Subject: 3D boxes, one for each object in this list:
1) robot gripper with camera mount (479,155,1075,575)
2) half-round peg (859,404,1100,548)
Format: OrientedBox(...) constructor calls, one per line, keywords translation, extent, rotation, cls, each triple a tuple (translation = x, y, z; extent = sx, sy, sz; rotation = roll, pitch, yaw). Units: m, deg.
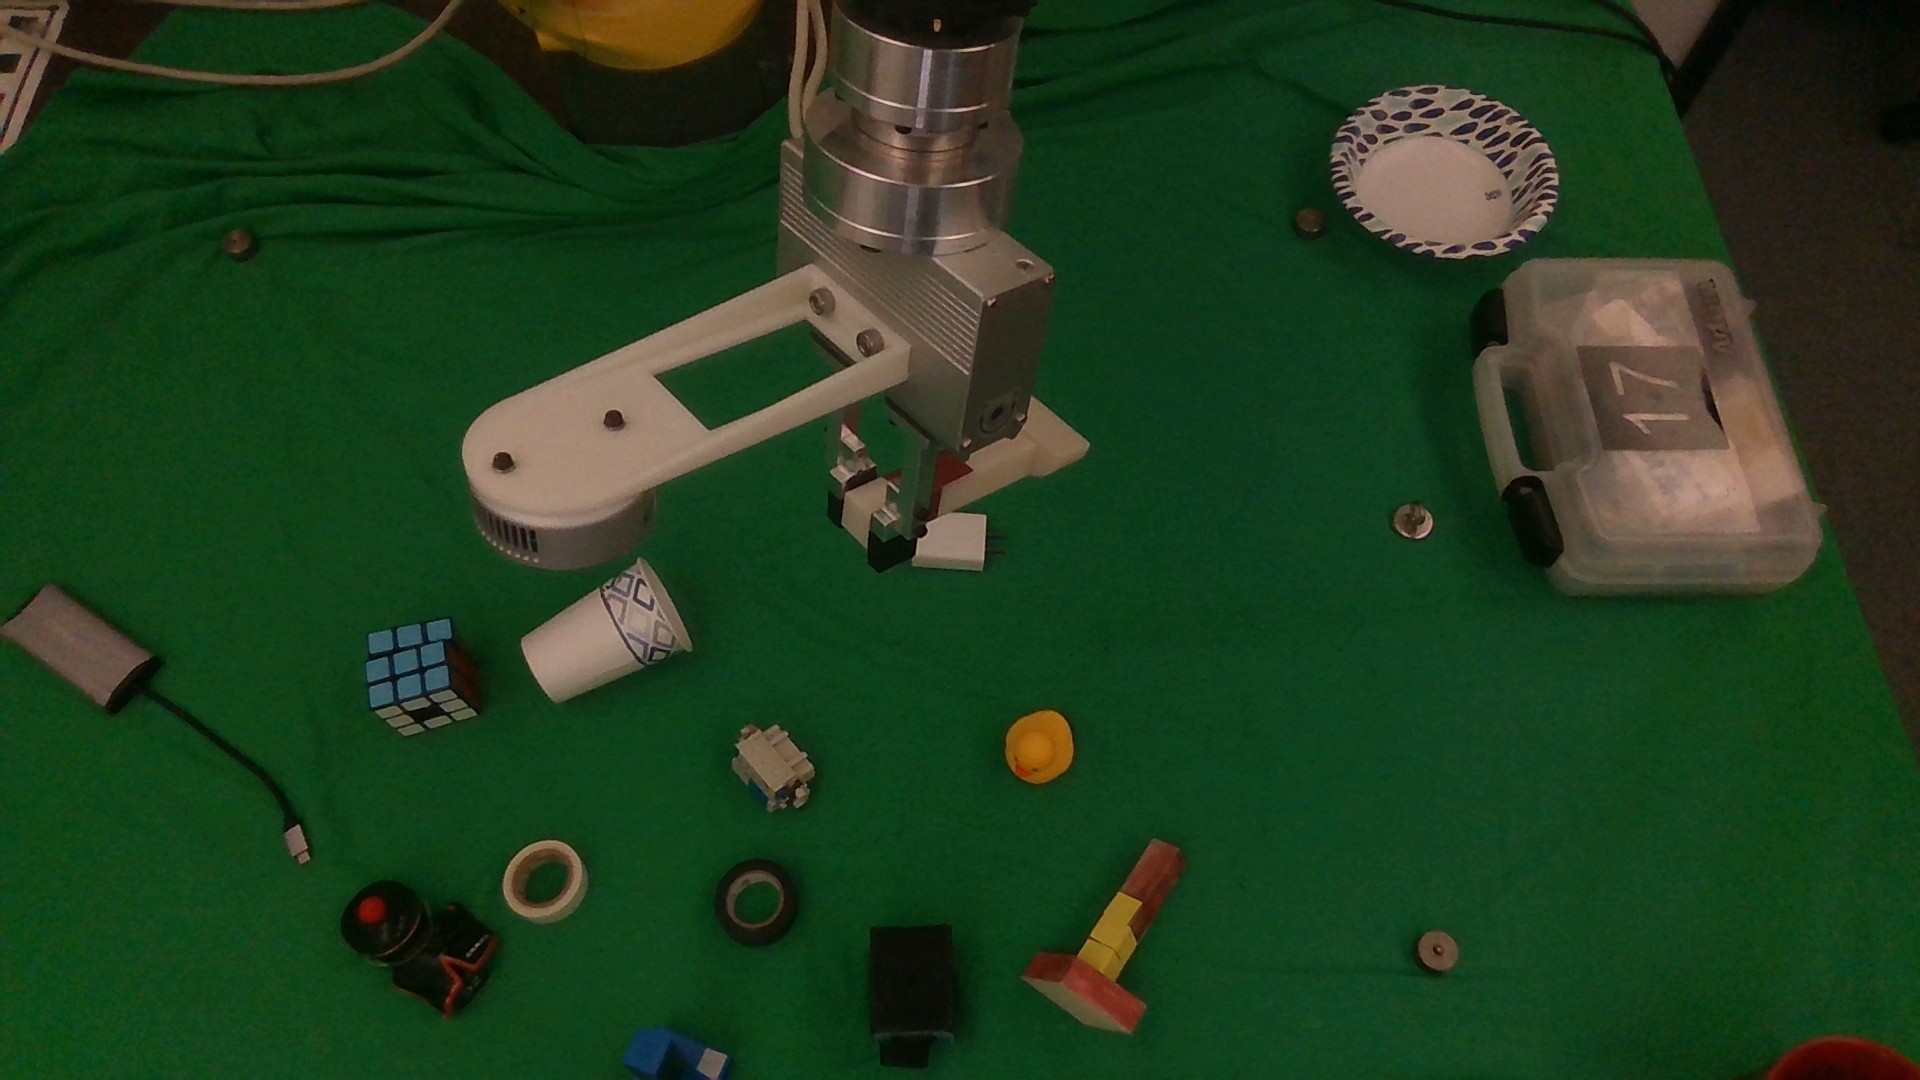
OrientedBox(translation=(-0.080, -0.028, 0.525), extent=(0.193, 0.158, 0.119), rotation=(-25, 54, -33), cls="robot gripper with camera mount")
OrientedBox(translation=(0.005, -0.029, 0.637), extent=(0.121, 0.031, 0.054), rotation=(-25, 50, -35), cls="half-round peg")
